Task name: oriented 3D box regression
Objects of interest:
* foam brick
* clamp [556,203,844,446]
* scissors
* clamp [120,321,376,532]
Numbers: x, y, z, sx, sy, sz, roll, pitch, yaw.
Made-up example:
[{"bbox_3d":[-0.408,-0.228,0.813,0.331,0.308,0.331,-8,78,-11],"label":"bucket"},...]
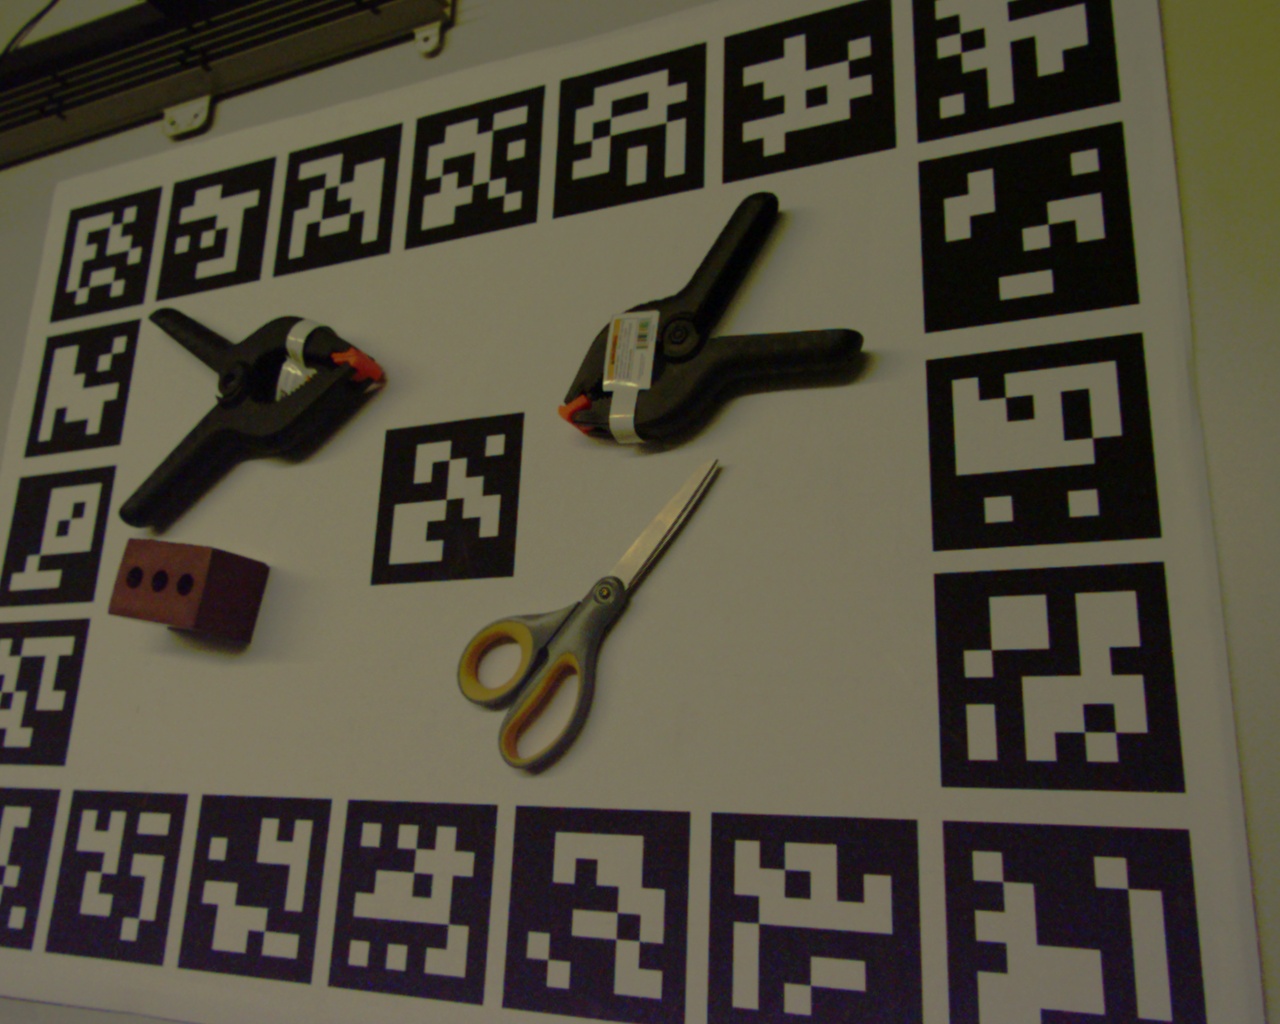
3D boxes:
[{"bbox_3d":[-0.301,0.055,0.777,0.079,0.051,0.053,3,79,31],"label":"foam brick"},{"bbox_3d":[0.022,-0.091,0.671,0.166,0.036,0.122,-33,72,15],"label":"clamp"},{"bbox_3d":[-0.039,0.056,0.665,0.088,0.016,0.203,39,93,21],"label":"scissors"},{"bbox_3d":[-0.279,-0.077,0.807,0.205,0.036,0.166,-9,70,23],"label":"clamp"}]
